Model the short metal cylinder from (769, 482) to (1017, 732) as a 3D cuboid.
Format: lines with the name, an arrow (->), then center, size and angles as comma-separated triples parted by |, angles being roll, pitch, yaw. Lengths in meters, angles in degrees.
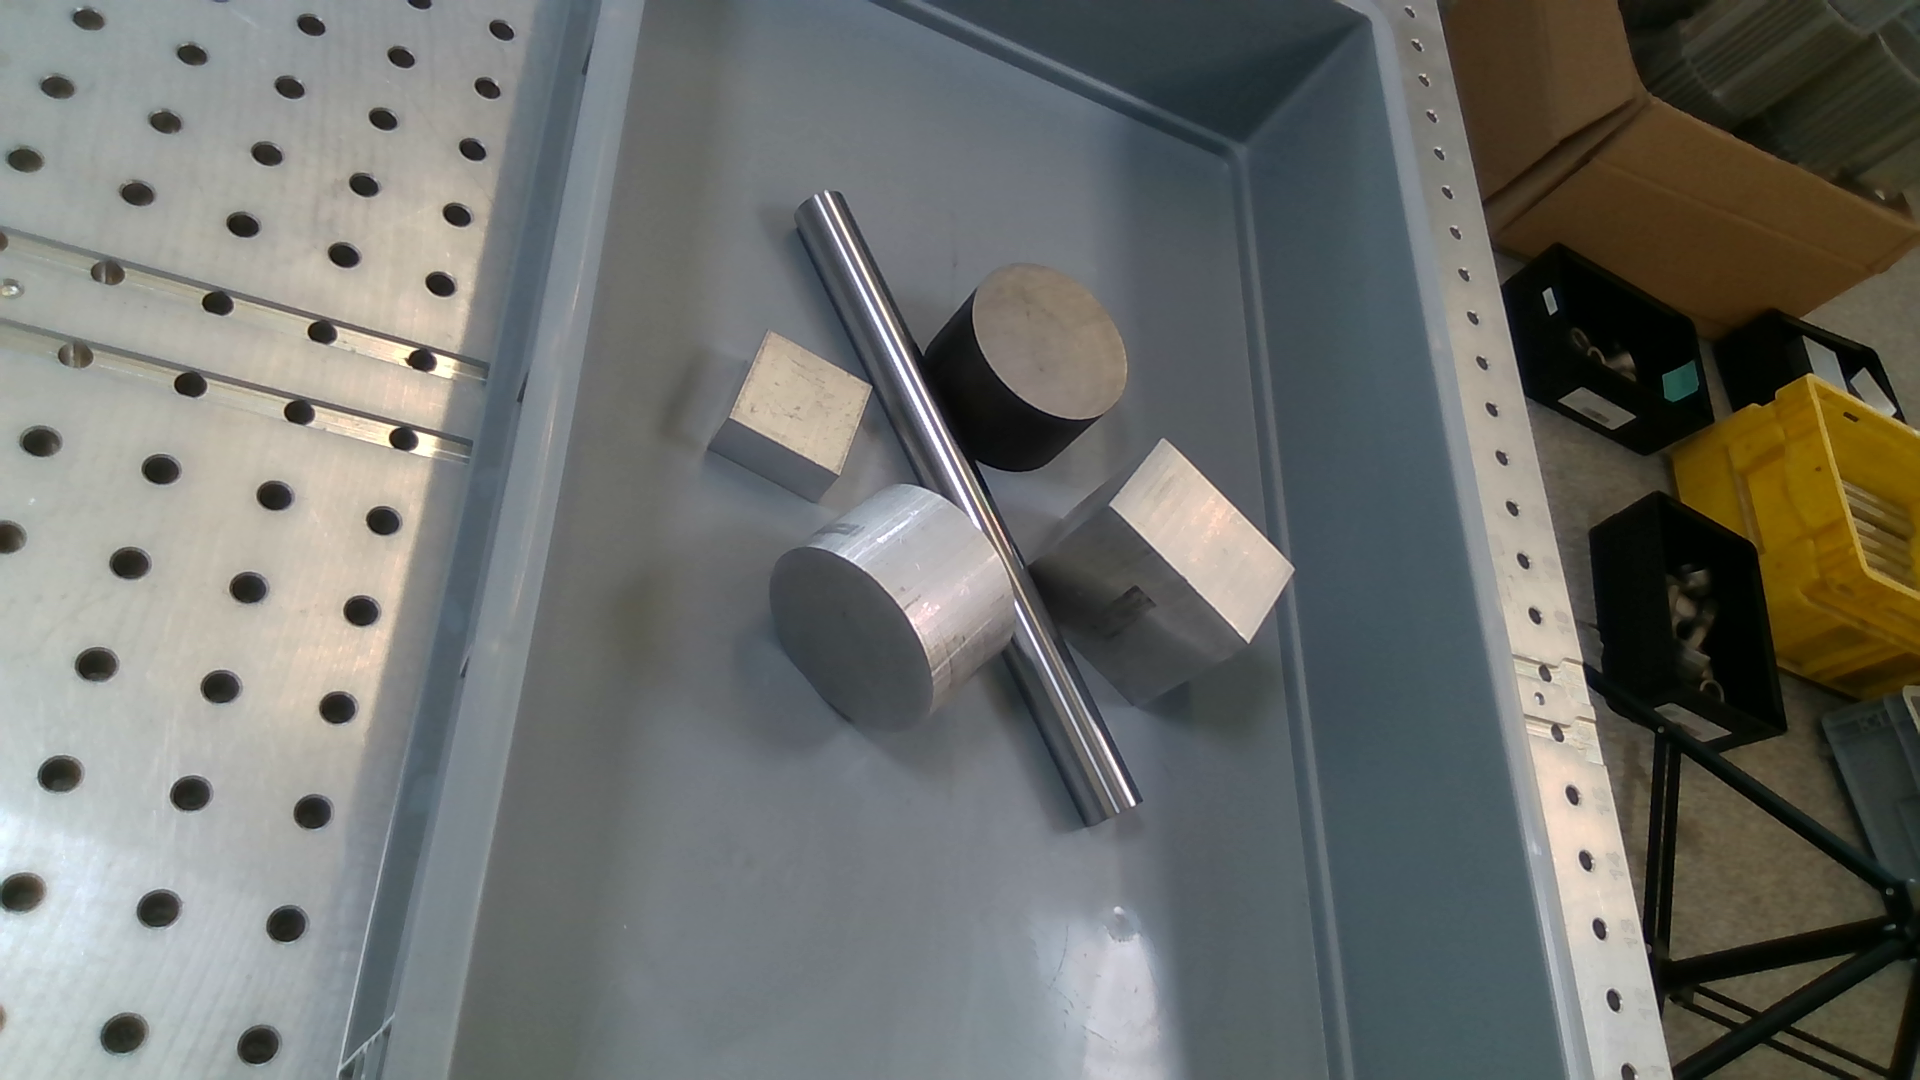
short metal cylinder -> -0.026, 0.025, 0.520 | 0.080, 0.080, 0.050 | 50, 51, 1

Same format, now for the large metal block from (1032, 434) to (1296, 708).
large metal block -> 0.081, 0.015, 0.592 | 0.080, 0.080, 0.050 | 45, 51, -3

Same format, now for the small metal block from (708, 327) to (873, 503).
small metal block -> -0.070, -0.052, 0.570 | 0.050, 0.025, 0.050 | 28, 54, -16

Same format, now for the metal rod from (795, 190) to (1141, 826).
metal rod -> 0.000, -0.020, 0.596 | 0.025, 0.025, 0.300 | -17, 75, -37

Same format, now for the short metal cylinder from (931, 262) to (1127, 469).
short metal cylinder -> 0.029, -0.079, 0.629 | 0.080, 0.050, 0.080 | 14, 59, -25
